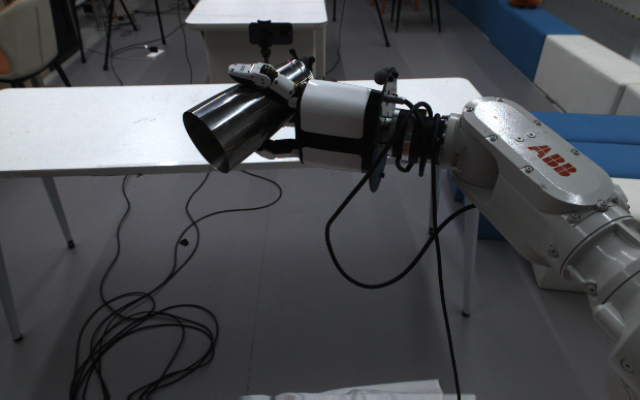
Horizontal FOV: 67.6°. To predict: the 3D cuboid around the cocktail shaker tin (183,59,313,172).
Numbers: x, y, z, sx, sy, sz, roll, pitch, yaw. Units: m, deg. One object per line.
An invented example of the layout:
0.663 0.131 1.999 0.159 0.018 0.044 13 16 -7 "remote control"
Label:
-0.085 -0.126 0.647 0.170 0.093 0.093 -38 49 -24 "cocktail shaker tin"
